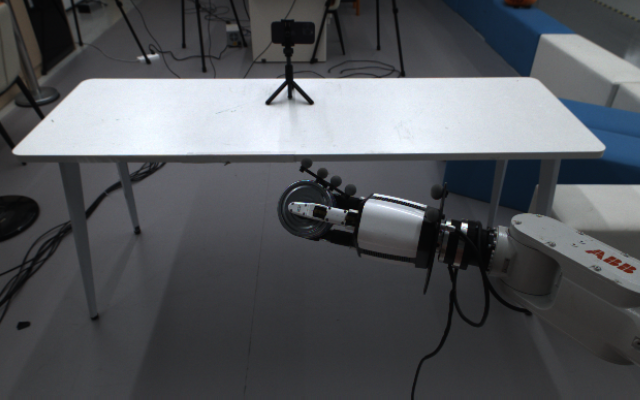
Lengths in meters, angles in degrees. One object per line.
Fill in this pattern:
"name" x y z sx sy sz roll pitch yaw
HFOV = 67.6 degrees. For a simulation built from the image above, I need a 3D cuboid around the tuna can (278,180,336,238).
"tuna can" -0.018 0.013 0.716 0.085 0.085 0.034 12 -4 15
